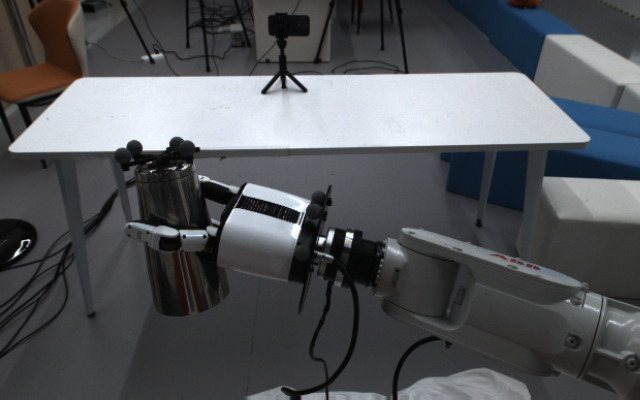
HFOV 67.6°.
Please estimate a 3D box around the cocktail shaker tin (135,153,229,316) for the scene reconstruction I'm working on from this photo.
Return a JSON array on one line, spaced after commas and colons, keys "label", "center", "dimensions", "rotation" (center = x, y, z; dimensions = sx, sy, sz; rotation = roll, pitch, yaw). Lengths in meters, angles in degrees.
[{"label": "cocktail shaker tin", "center": [-0.166, 0.040, 0.572], "dimensions": [0.093, 0.170, 0.093], "rotation": [-6, 19, 2]}]
